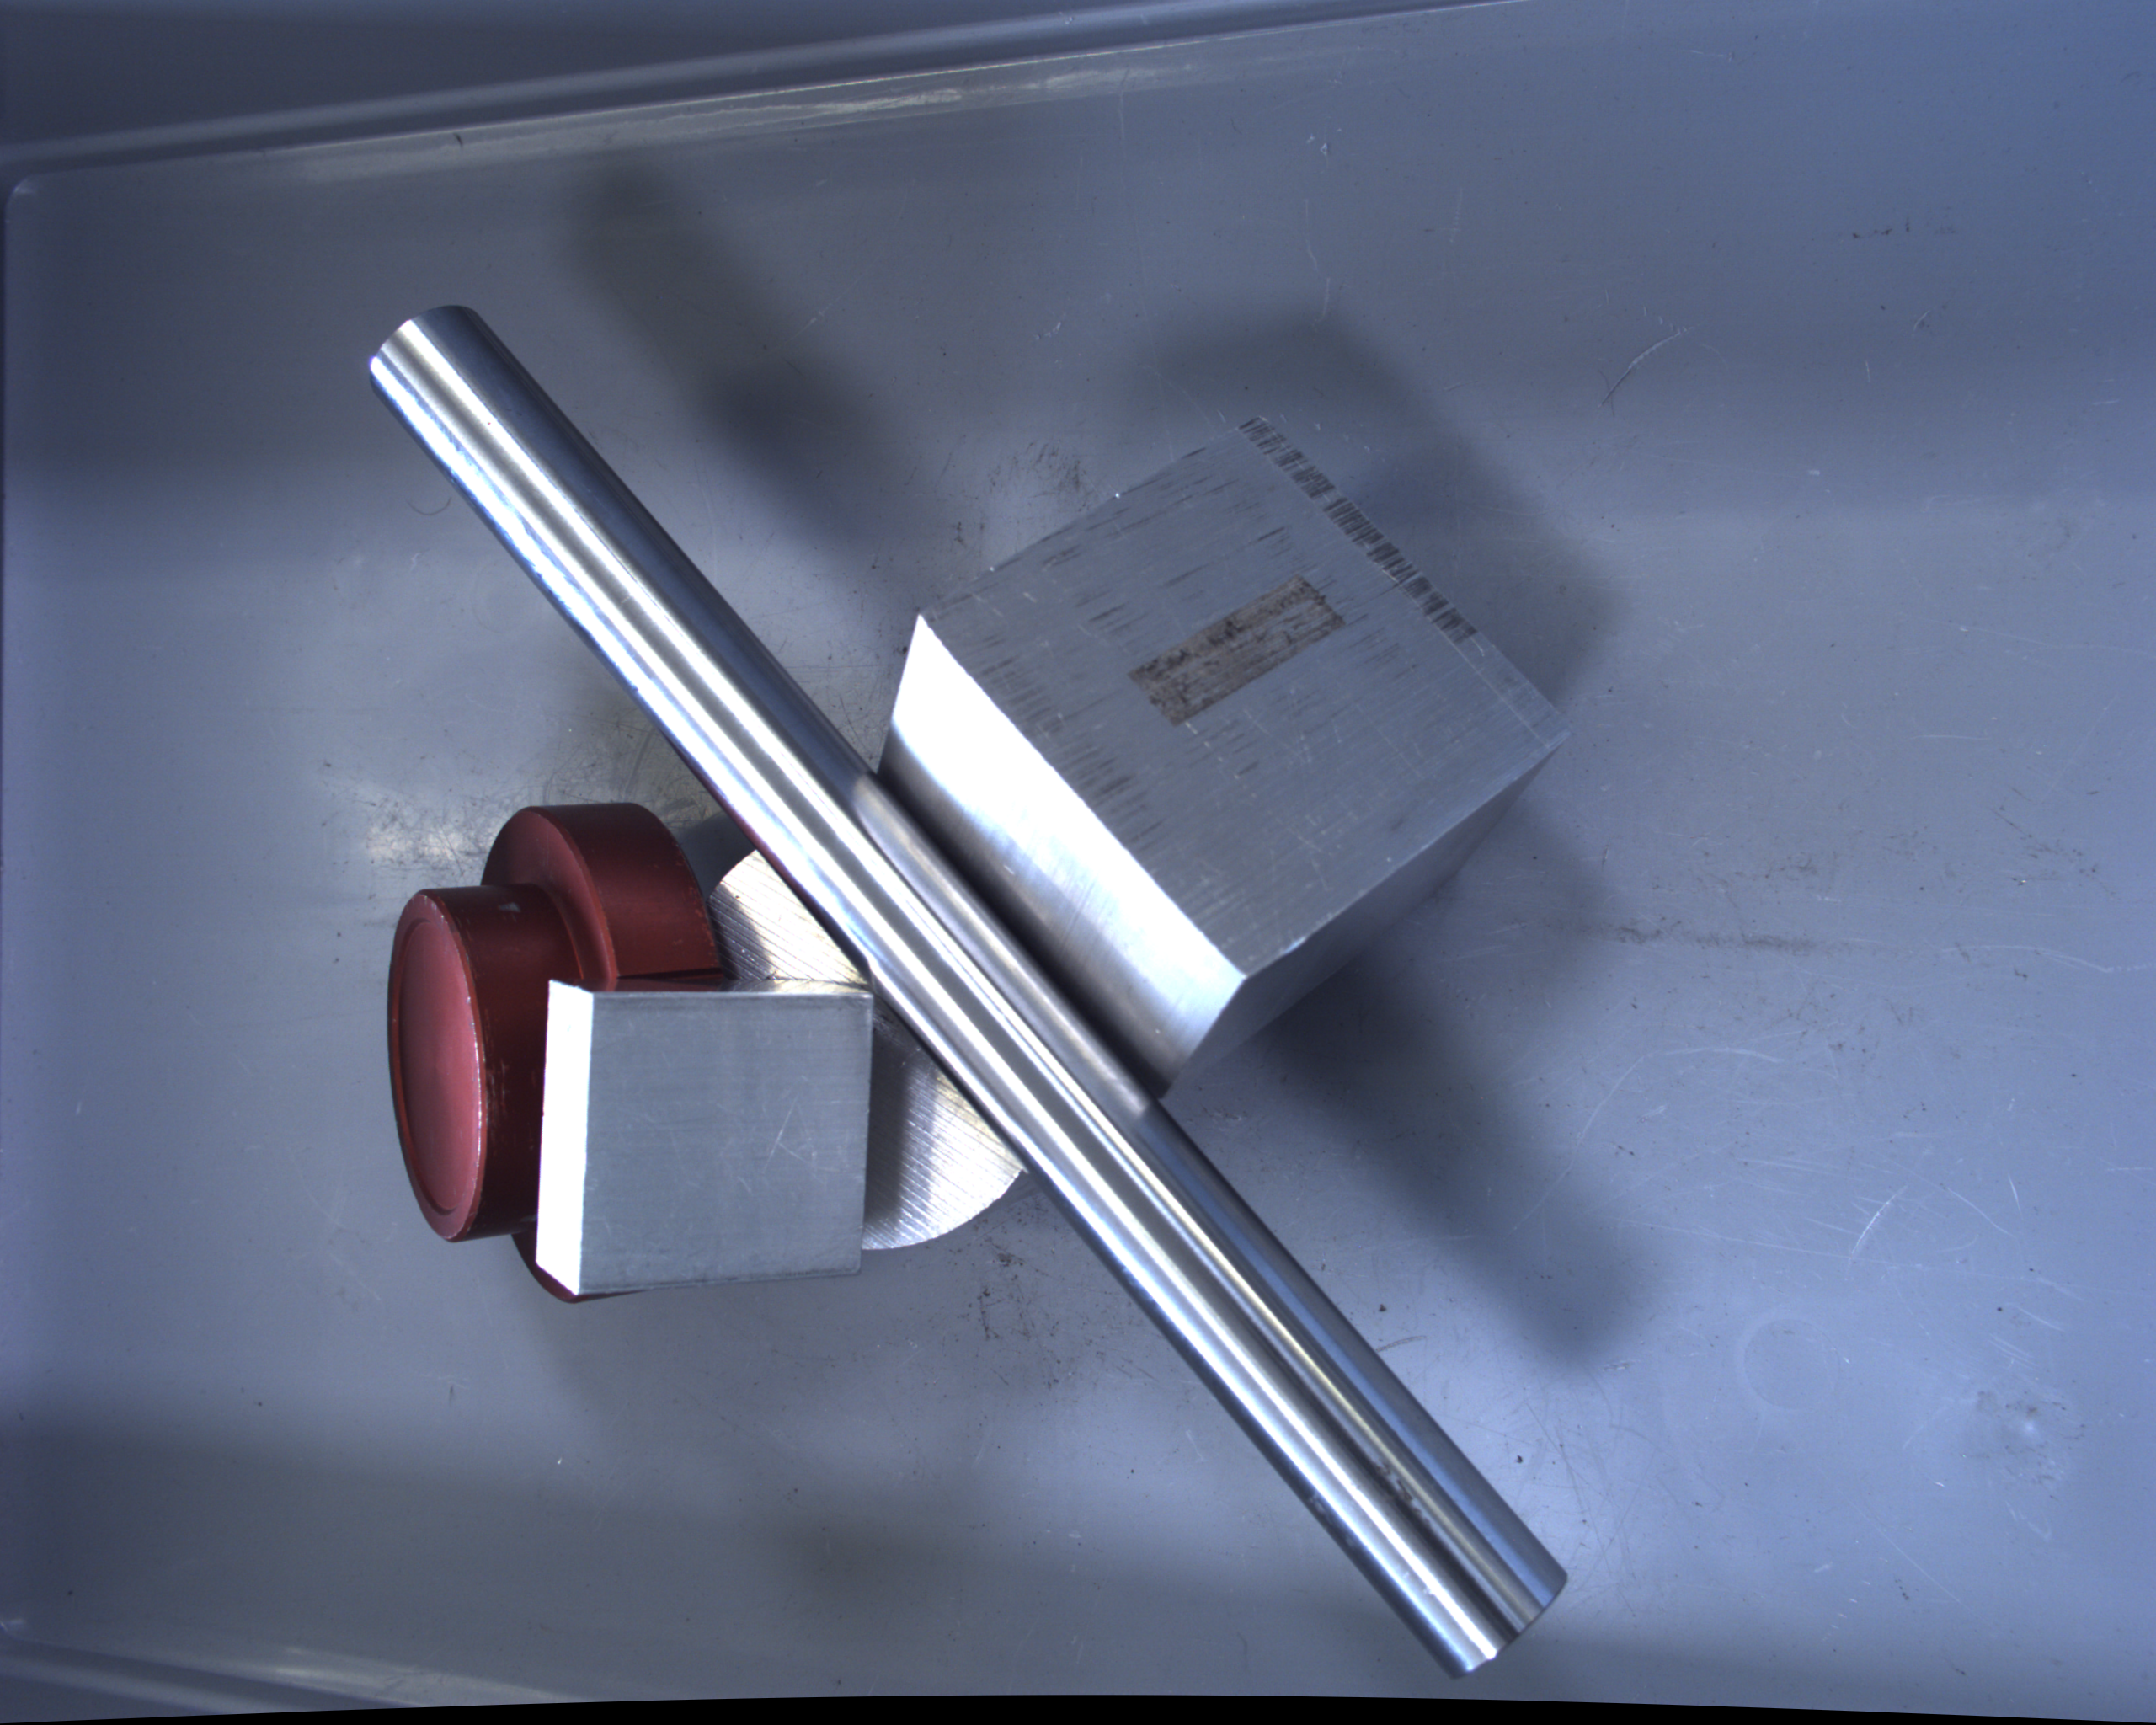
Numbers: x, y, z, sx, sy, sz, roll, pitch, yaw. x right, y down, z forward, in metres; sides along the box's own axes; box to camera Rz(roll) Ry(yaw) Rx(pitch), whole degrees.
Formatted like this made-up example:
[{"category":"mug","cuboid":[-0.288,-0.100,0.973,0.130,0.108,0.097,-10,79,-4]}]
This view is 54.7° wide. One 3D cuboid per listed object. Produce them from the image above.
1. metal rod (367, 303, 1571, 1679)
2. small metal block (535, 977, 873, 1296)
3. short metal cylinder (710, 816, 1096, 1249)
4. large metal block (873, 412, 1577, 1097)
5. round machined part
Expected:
[{"category":"metal rod","cuboid":[-0.028,0.012,0.365,0.025,0.025,0.300,-45,76,14]},{"category":"small metal block","cuboid":[-0.065,0.046,0.363,0.025,0.050,0.050,5,93,60]},{"category":"short metal cylinder","cuboid":[-0.032,0.031,0.406,0.080,0.050,0.079,0,90,20]},{"category":"large metal block","cuboid":[0.023,-0.020,0.364,0.080,0.050,0.080,-35,75,-28]},{"category":"round machined part","cuboid":[-0.106,0.038,0.409,0.098,0.042,0.097,10,102,57]}]
